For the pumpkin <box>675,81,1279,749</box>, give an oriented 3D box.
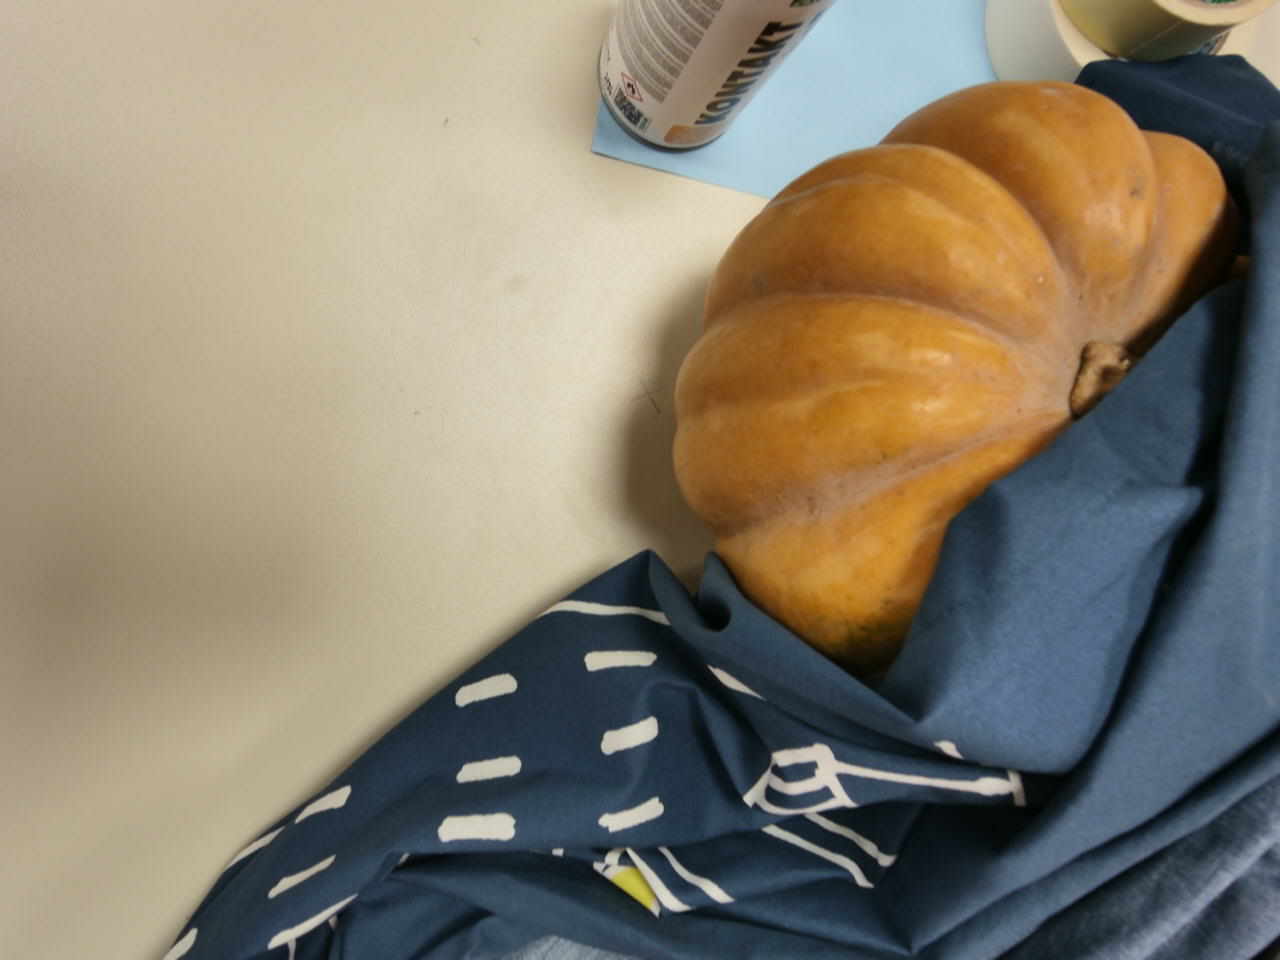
[{"bbox_3d":[0.122,-0.016,0.362,0.230,0.194,0.230,0,90,-12],"label":"pumpkin"}]
